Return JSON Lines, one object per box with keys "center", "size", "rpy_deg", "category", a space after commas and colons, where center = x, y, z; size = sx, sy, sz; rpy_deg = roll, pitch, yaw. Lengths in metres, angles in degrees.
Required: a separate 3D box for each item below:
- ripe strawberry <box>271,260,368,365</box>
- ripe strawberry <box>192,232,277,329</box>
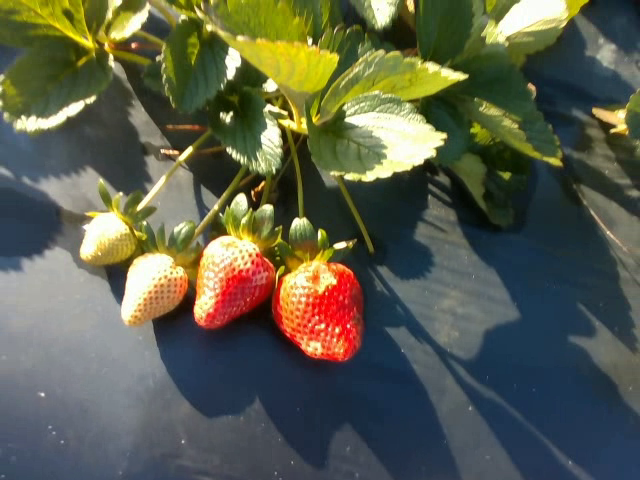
{"center": [0.004, 0.039, 0.298], "size": [0.057, 0.067, 0.051], "rpy_deg": [-30, -40, 5], "category": "ripe strawberry"}
{"center": [-0.047, 0.022, 0.297], "size": [0.051, 0.061, 0.044], "rpy_deg": [43, -36, -14], "category": "ripe strawberry"}
